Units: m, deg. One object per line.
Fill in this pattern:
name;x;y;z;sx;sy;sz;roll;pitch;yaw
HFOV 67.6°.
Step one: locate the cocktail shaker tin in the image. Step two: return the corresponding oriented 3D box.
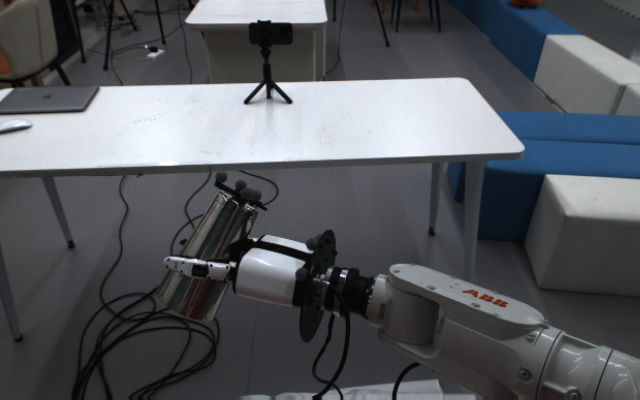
cocktail shaker tin;-0.156;0.074;0.703;0.093;0.170;0.093;27;2;-1
